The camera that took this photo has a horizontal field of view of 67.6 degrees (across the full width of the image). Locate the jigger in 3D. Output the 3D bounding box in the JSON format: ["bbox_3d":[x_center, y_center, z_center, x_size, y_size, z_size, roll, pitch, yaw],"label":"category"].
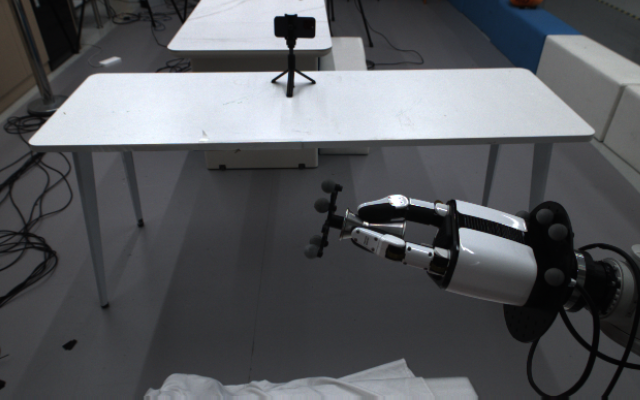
[{"bbox_3d":[0.066,0.033,0.551,0.071,0.043,0.043,14,36,5],"label":"jigger"}]
